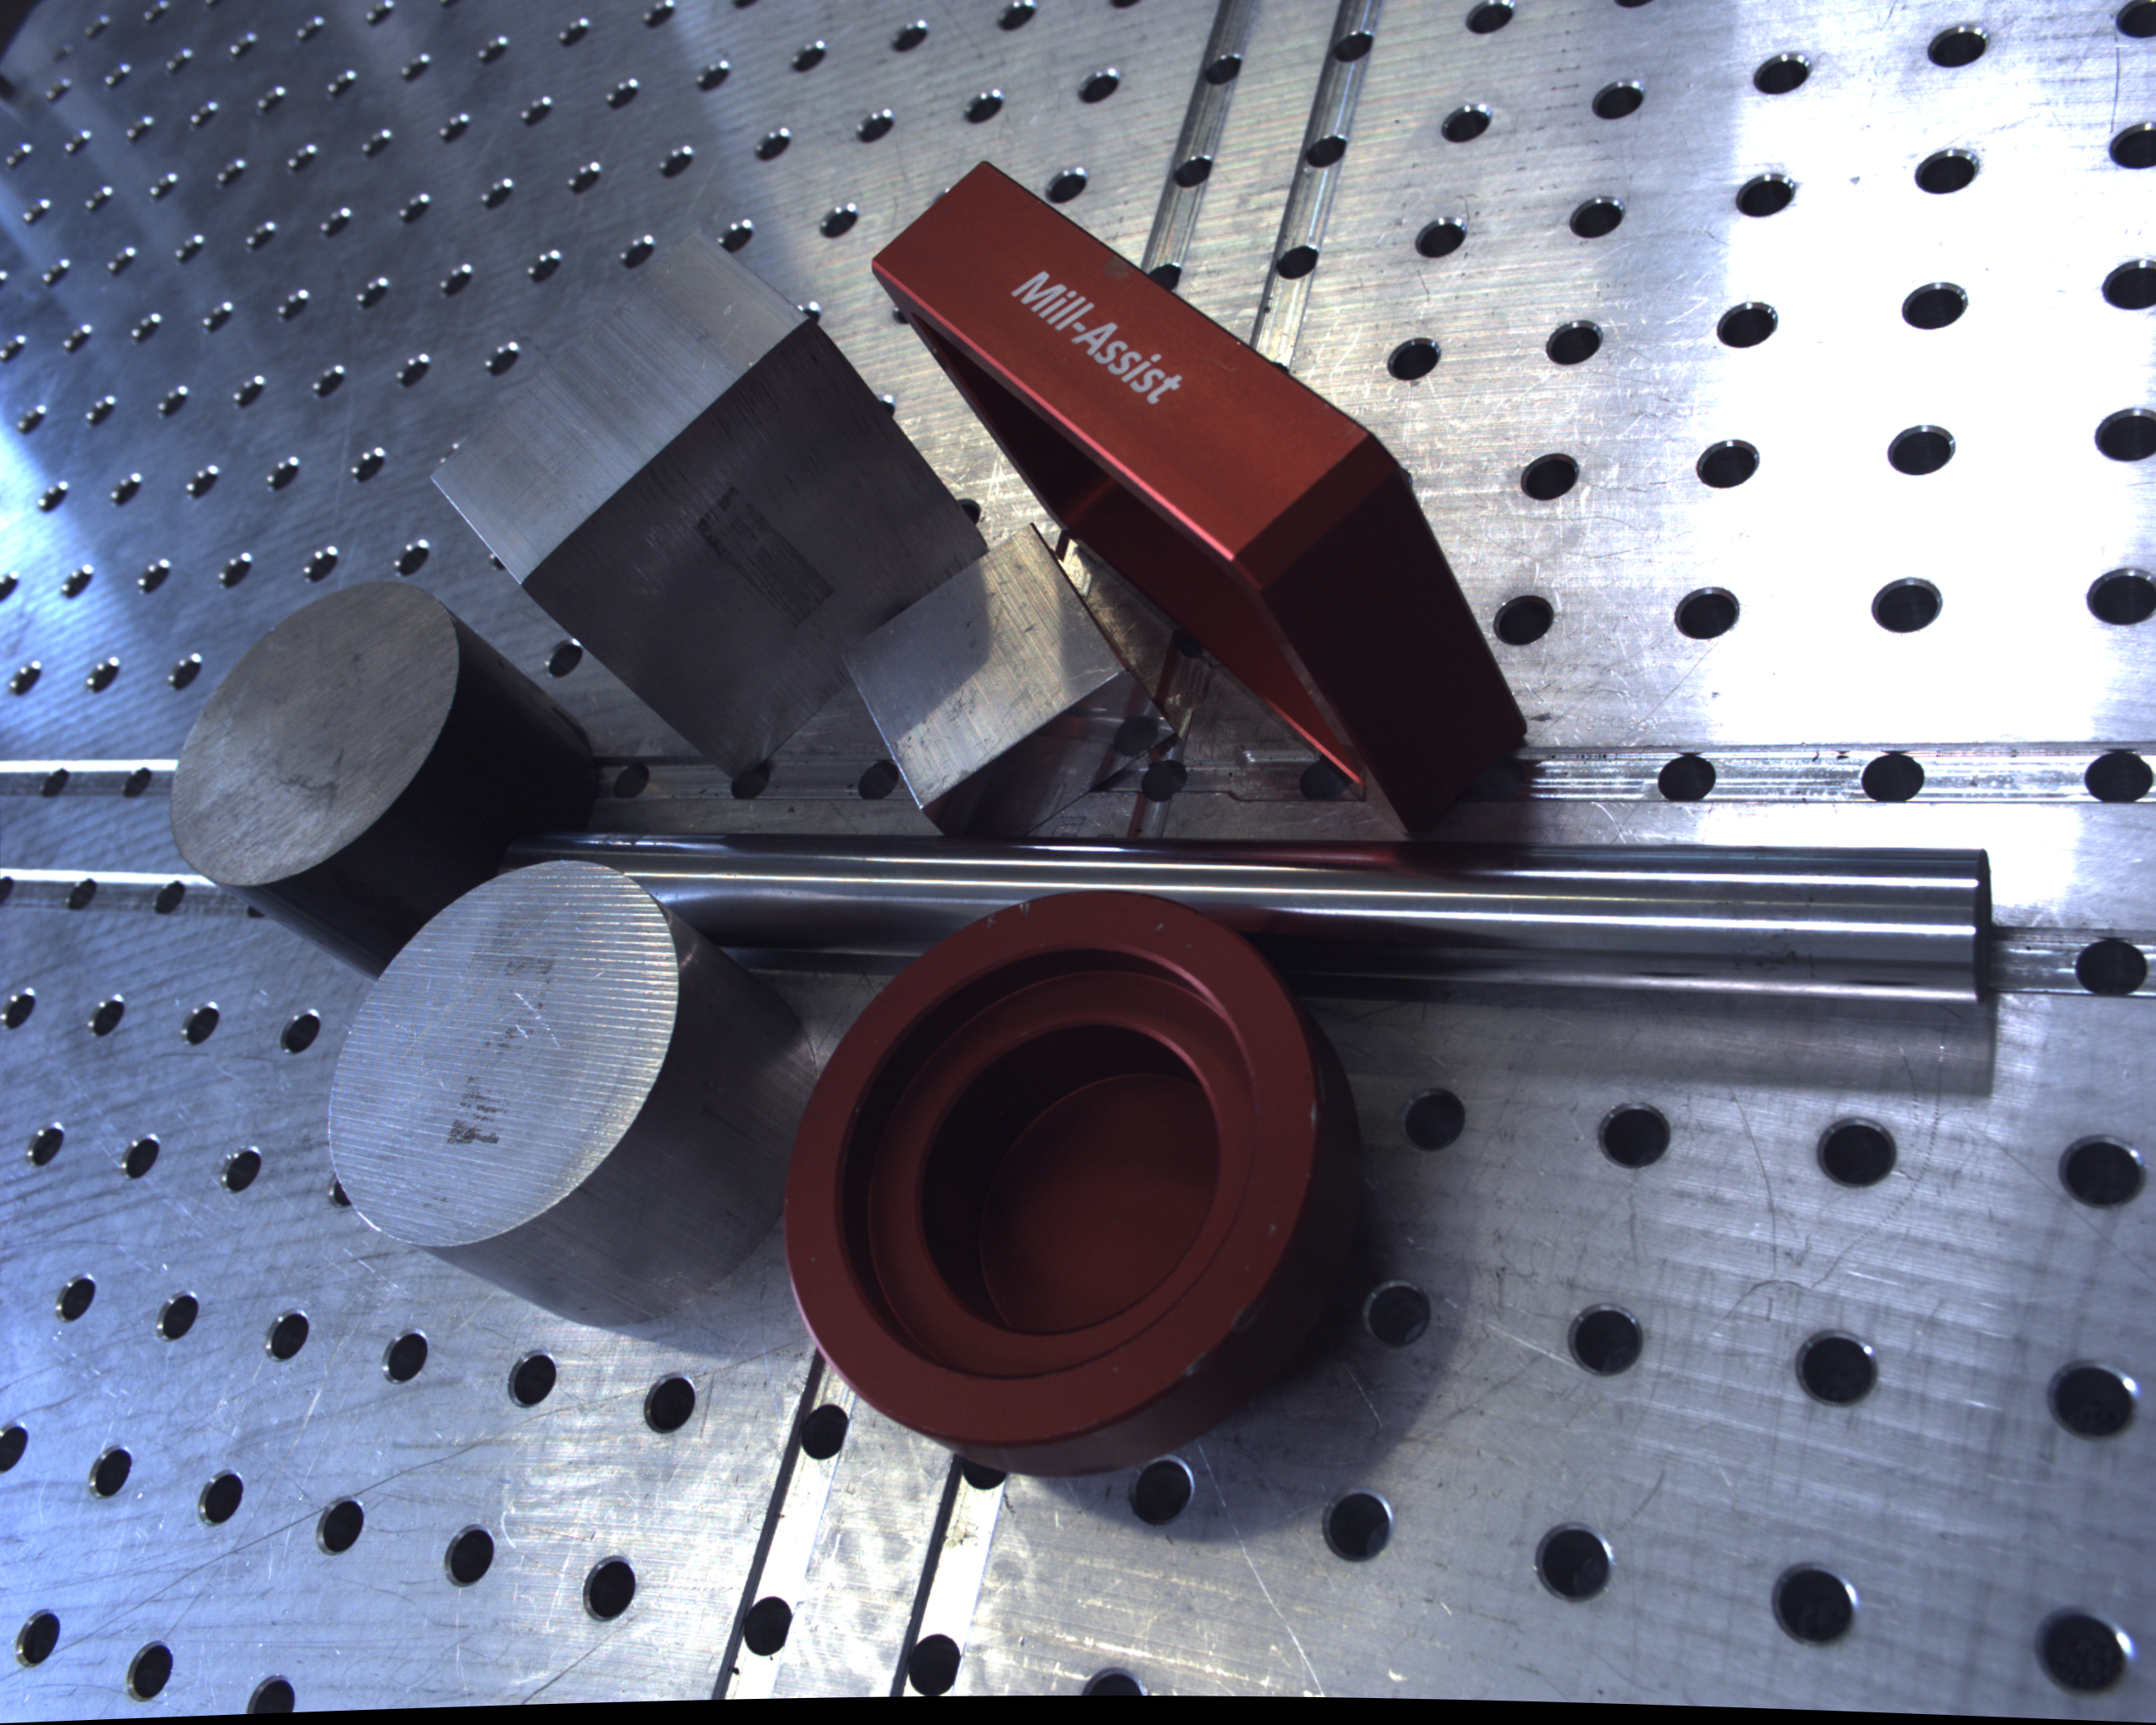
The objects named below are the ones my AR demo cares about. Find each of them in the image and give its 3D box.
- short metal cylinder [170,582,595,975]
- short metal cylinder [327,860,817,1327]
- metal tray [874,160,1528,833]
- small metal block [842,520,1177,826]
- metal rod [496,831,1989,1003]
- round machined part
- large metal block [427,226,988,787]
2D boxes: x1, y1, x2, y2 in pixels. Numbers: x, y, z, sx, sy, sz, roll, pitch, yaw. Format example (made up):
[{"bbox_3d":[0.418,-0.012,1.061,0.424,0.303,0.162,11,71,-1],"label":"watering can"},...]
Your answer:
[{"bbox_3d":[-0.162,-0.018,0.488,0.080,0.050,0.080,-13,56,21],"label":"short metal cylinder"},{"bbox_3d":[-0.100,0.046,0.416,0.080,0.050,0.080,-13,56,21],"label":"short metal cylinder"},{"bbox_3d":[0.022,-0.070,0.398,0.030,0.090,0.130,-43,51,-1],"label":"metal tray"},{"bbox_3d":[-0.015,-0.036,0.439,0.050,0.025,0.050,-34,51,6],"label":"small metal block"},{"bbox_3d":[0.010,0.007,0.398,0.300,0.025,0.025,1,62,28],"label":"metal rod"},{"bbox_3d":[0.003,0.057,0.361,0.098,0.042,0.098,-13,56,21],"label":"round machined part"},{"bbox_3d":[-0.079,-0.077,0.462,0.080,0.080,0.050,-44,52,-2],"label":"large metal block"}]
